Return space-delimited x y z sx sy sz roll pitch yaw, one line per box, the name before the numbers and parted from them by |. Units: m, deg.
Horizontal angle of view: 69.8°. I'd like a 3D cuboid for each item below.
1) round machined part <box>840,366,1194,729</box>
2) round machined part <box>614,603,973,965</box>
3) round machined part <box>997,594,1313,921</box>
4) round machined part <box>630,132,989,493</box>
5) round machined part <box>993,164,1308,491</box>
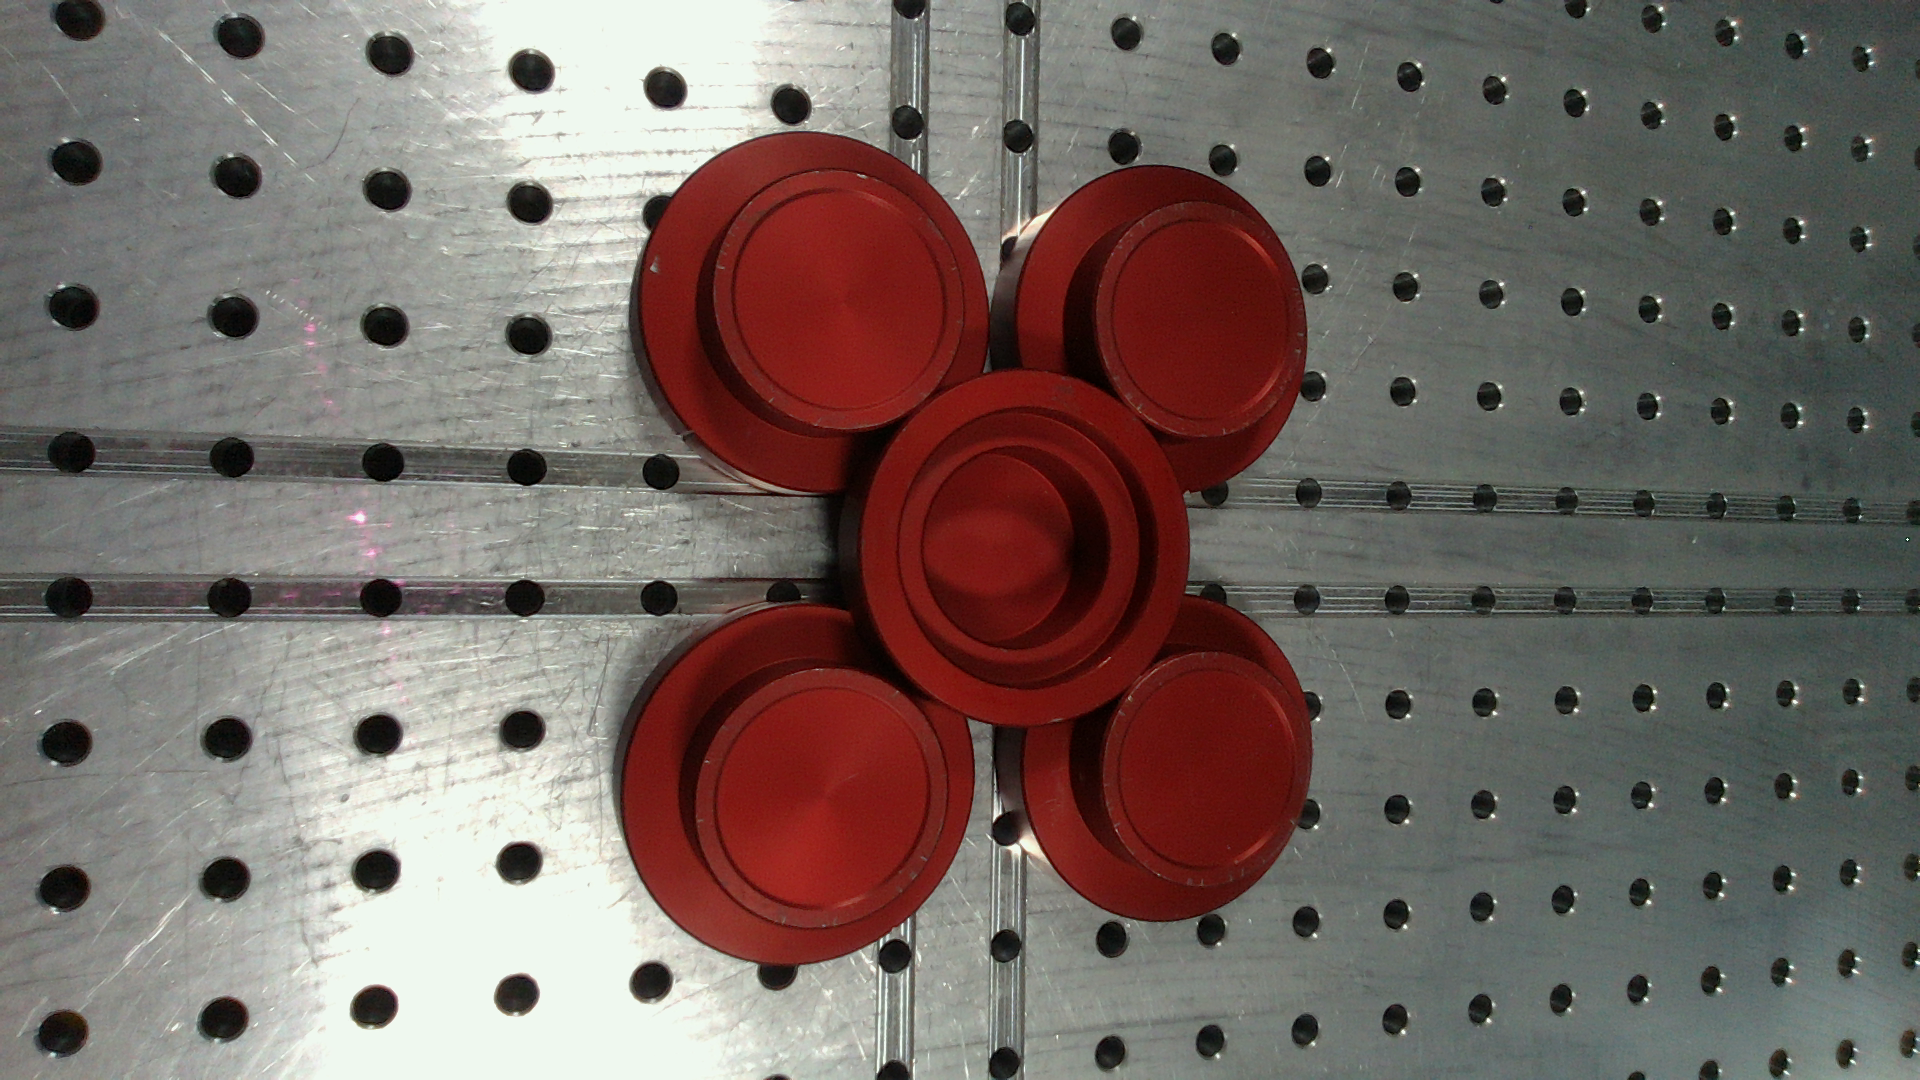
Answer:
round machined part | 0.013 0.002 0.390 0.098 0.042 0.098 0 90 -20
round machined part | -0.042 0.066 0.372 0.098 0.042 0.098 0 90 -20
round machined part | 0.064 0.065 0.410 0.098 0.042 0.098 0 90 -20
round machined part | -0.037 -0.062 0.372 0.098 0.042 0.098 0 90 -20
round machined part | 0.062 -0.063 0.409 0.098 0.042 0.098 0 90 -20
